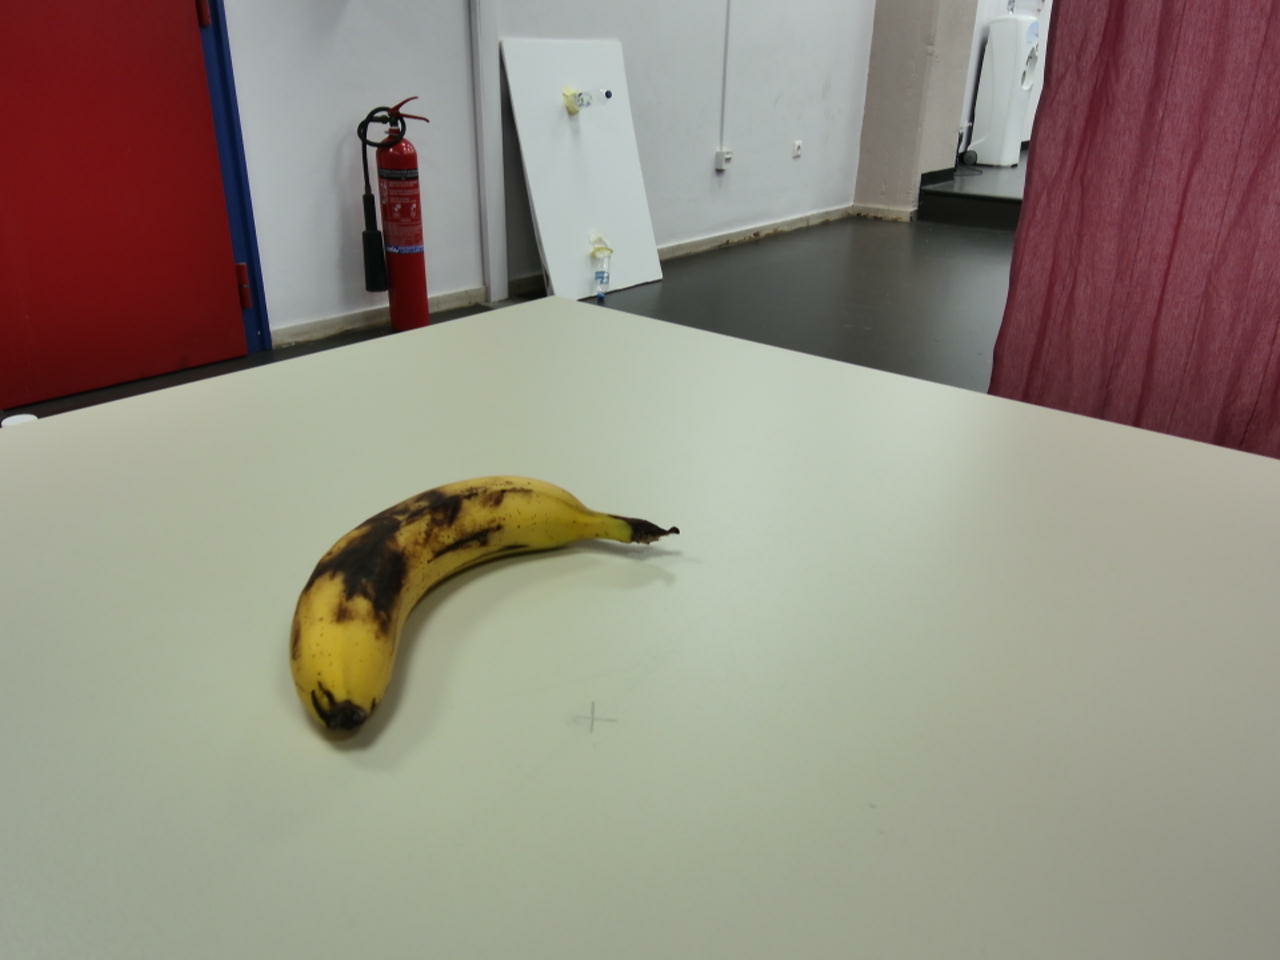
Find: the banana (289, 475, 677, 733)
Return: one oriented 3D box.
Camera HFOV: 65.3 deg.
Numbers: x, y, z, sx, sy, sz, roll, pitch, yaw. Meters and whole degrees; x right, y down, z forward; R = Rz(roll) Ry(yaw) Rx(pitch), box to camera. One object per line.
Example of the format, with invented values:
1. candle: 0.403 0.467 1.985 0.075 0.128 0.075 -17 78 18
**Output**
1. banana: -0.078 0.035 0.414 0.094 0.039 0.187 17 27 33
